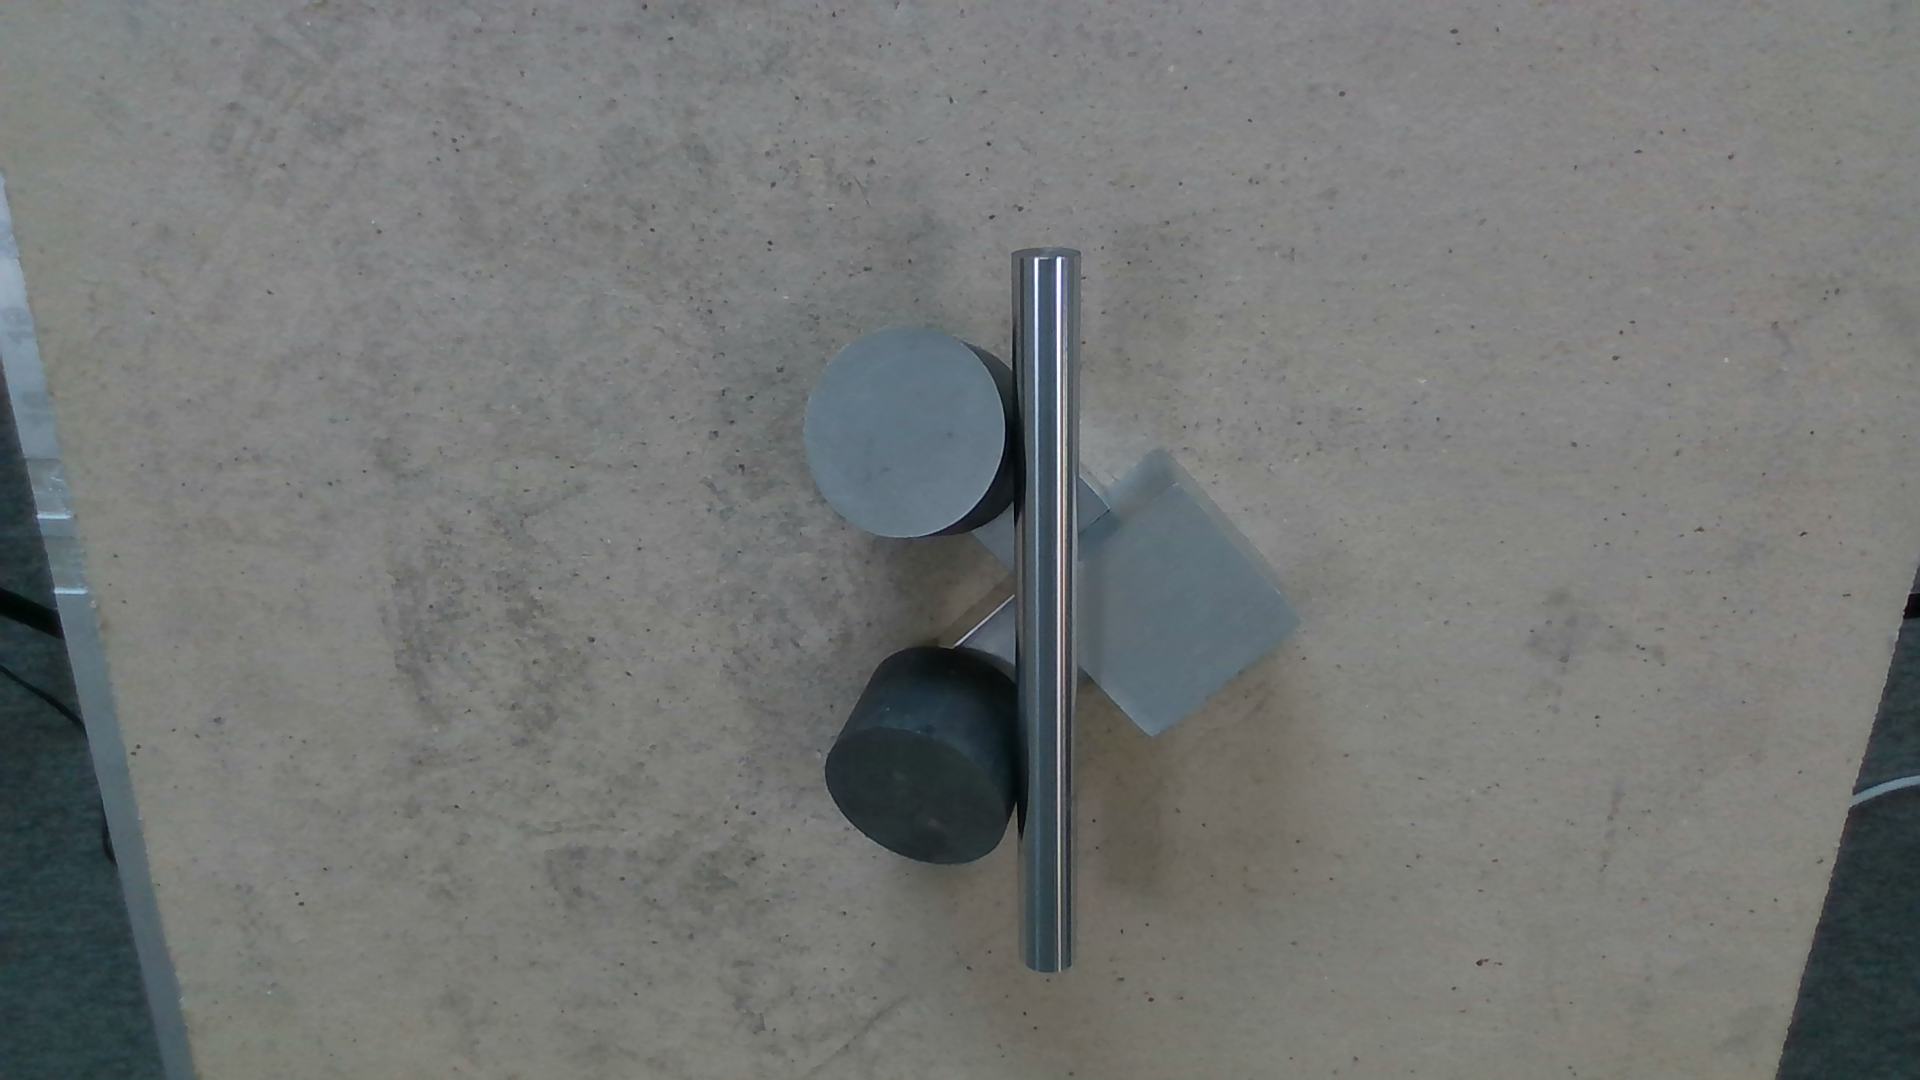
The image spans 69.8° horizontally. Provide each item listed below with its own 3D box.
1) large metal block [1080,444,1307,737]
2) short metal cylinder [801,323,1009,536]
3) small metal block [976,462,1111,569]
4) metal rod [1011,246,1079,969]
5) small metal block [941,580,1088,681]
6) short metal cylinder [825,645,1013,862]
[{"bbox_3d":[0.083,0.020,0.577,0.080,0.050,0.080,-40,105,14],"label":"large metal block"},{"bbox_3d":[-0.016,-0.042,0.541,0.080,0.050,0.080,0,91,17],"label":"short metal cylinder"},{"bbox_3d":[0.027,-0.019,0.578,0.050,0.025,0.050,-42,106,14],"label":"small metal block"},{"bbox_3d":[0.034,0.037,0.544,0.025,0.025,0.301,-1,110,1],"label":"metal rod"},{"bbox_3d":[0.025,0.049,0.603,0.050,0.025,0.050,-42,105,14],"label":"small metal block"},{"bbox_3d":[-0.011,0.092,0.591,0.080,0.050,0.080,11,130,14],"label":"short metal cylinder"}]
